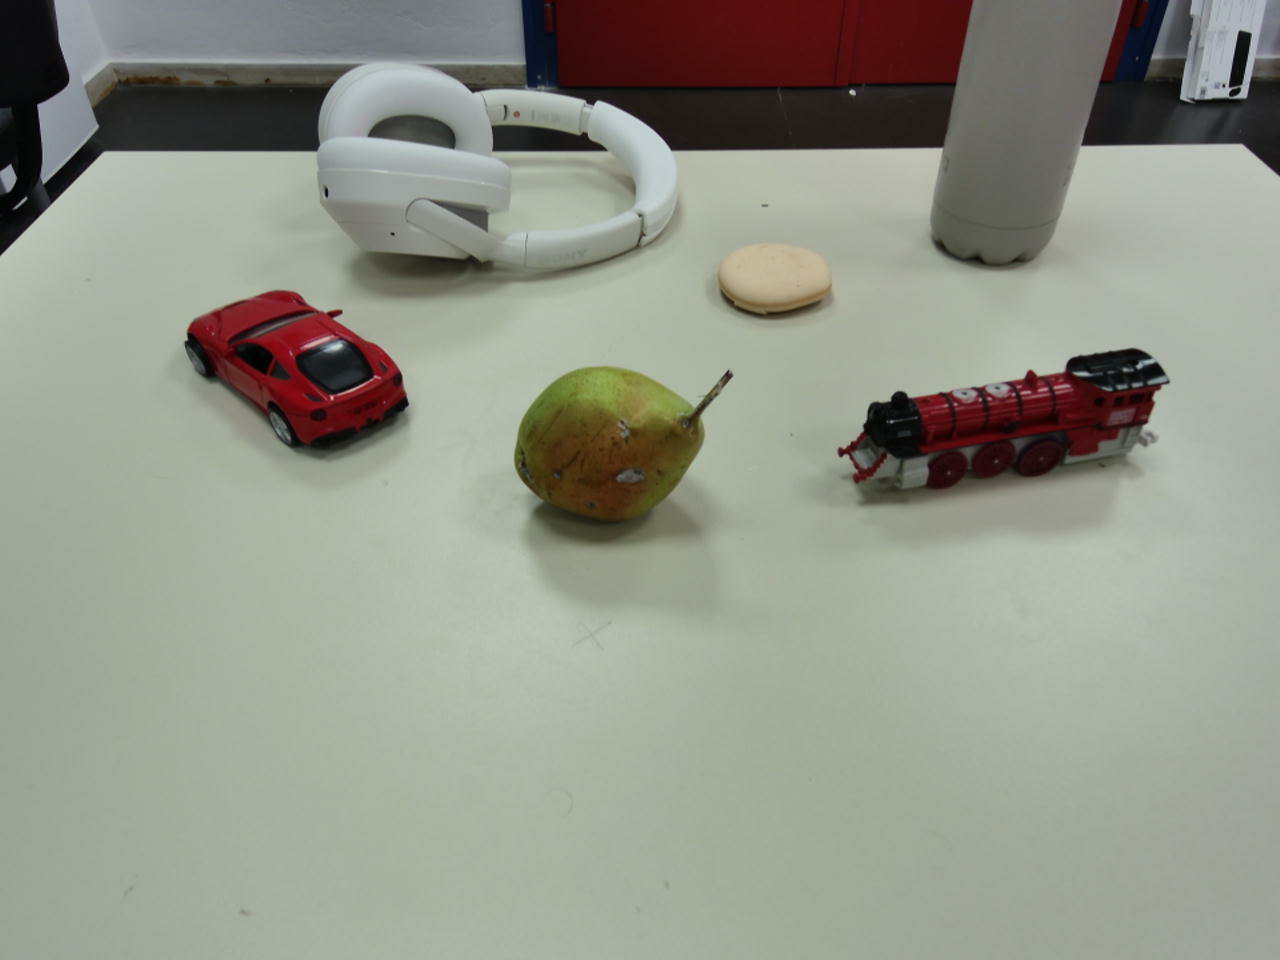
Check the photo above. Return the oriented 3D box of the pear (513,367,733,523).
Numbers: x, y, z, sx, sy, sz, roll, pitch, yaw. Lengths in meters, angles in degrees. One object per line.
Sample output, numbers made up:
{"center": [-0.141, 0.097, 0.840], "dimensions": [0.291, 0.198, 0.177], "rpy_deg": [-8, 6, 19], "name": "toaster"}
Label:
{"center": [-0.013, -0.016, 0.402], "dimensions": [0.068, 0.069, 0.070], "rpy_deg": [-27, 45, -29], "name": "pear"}
